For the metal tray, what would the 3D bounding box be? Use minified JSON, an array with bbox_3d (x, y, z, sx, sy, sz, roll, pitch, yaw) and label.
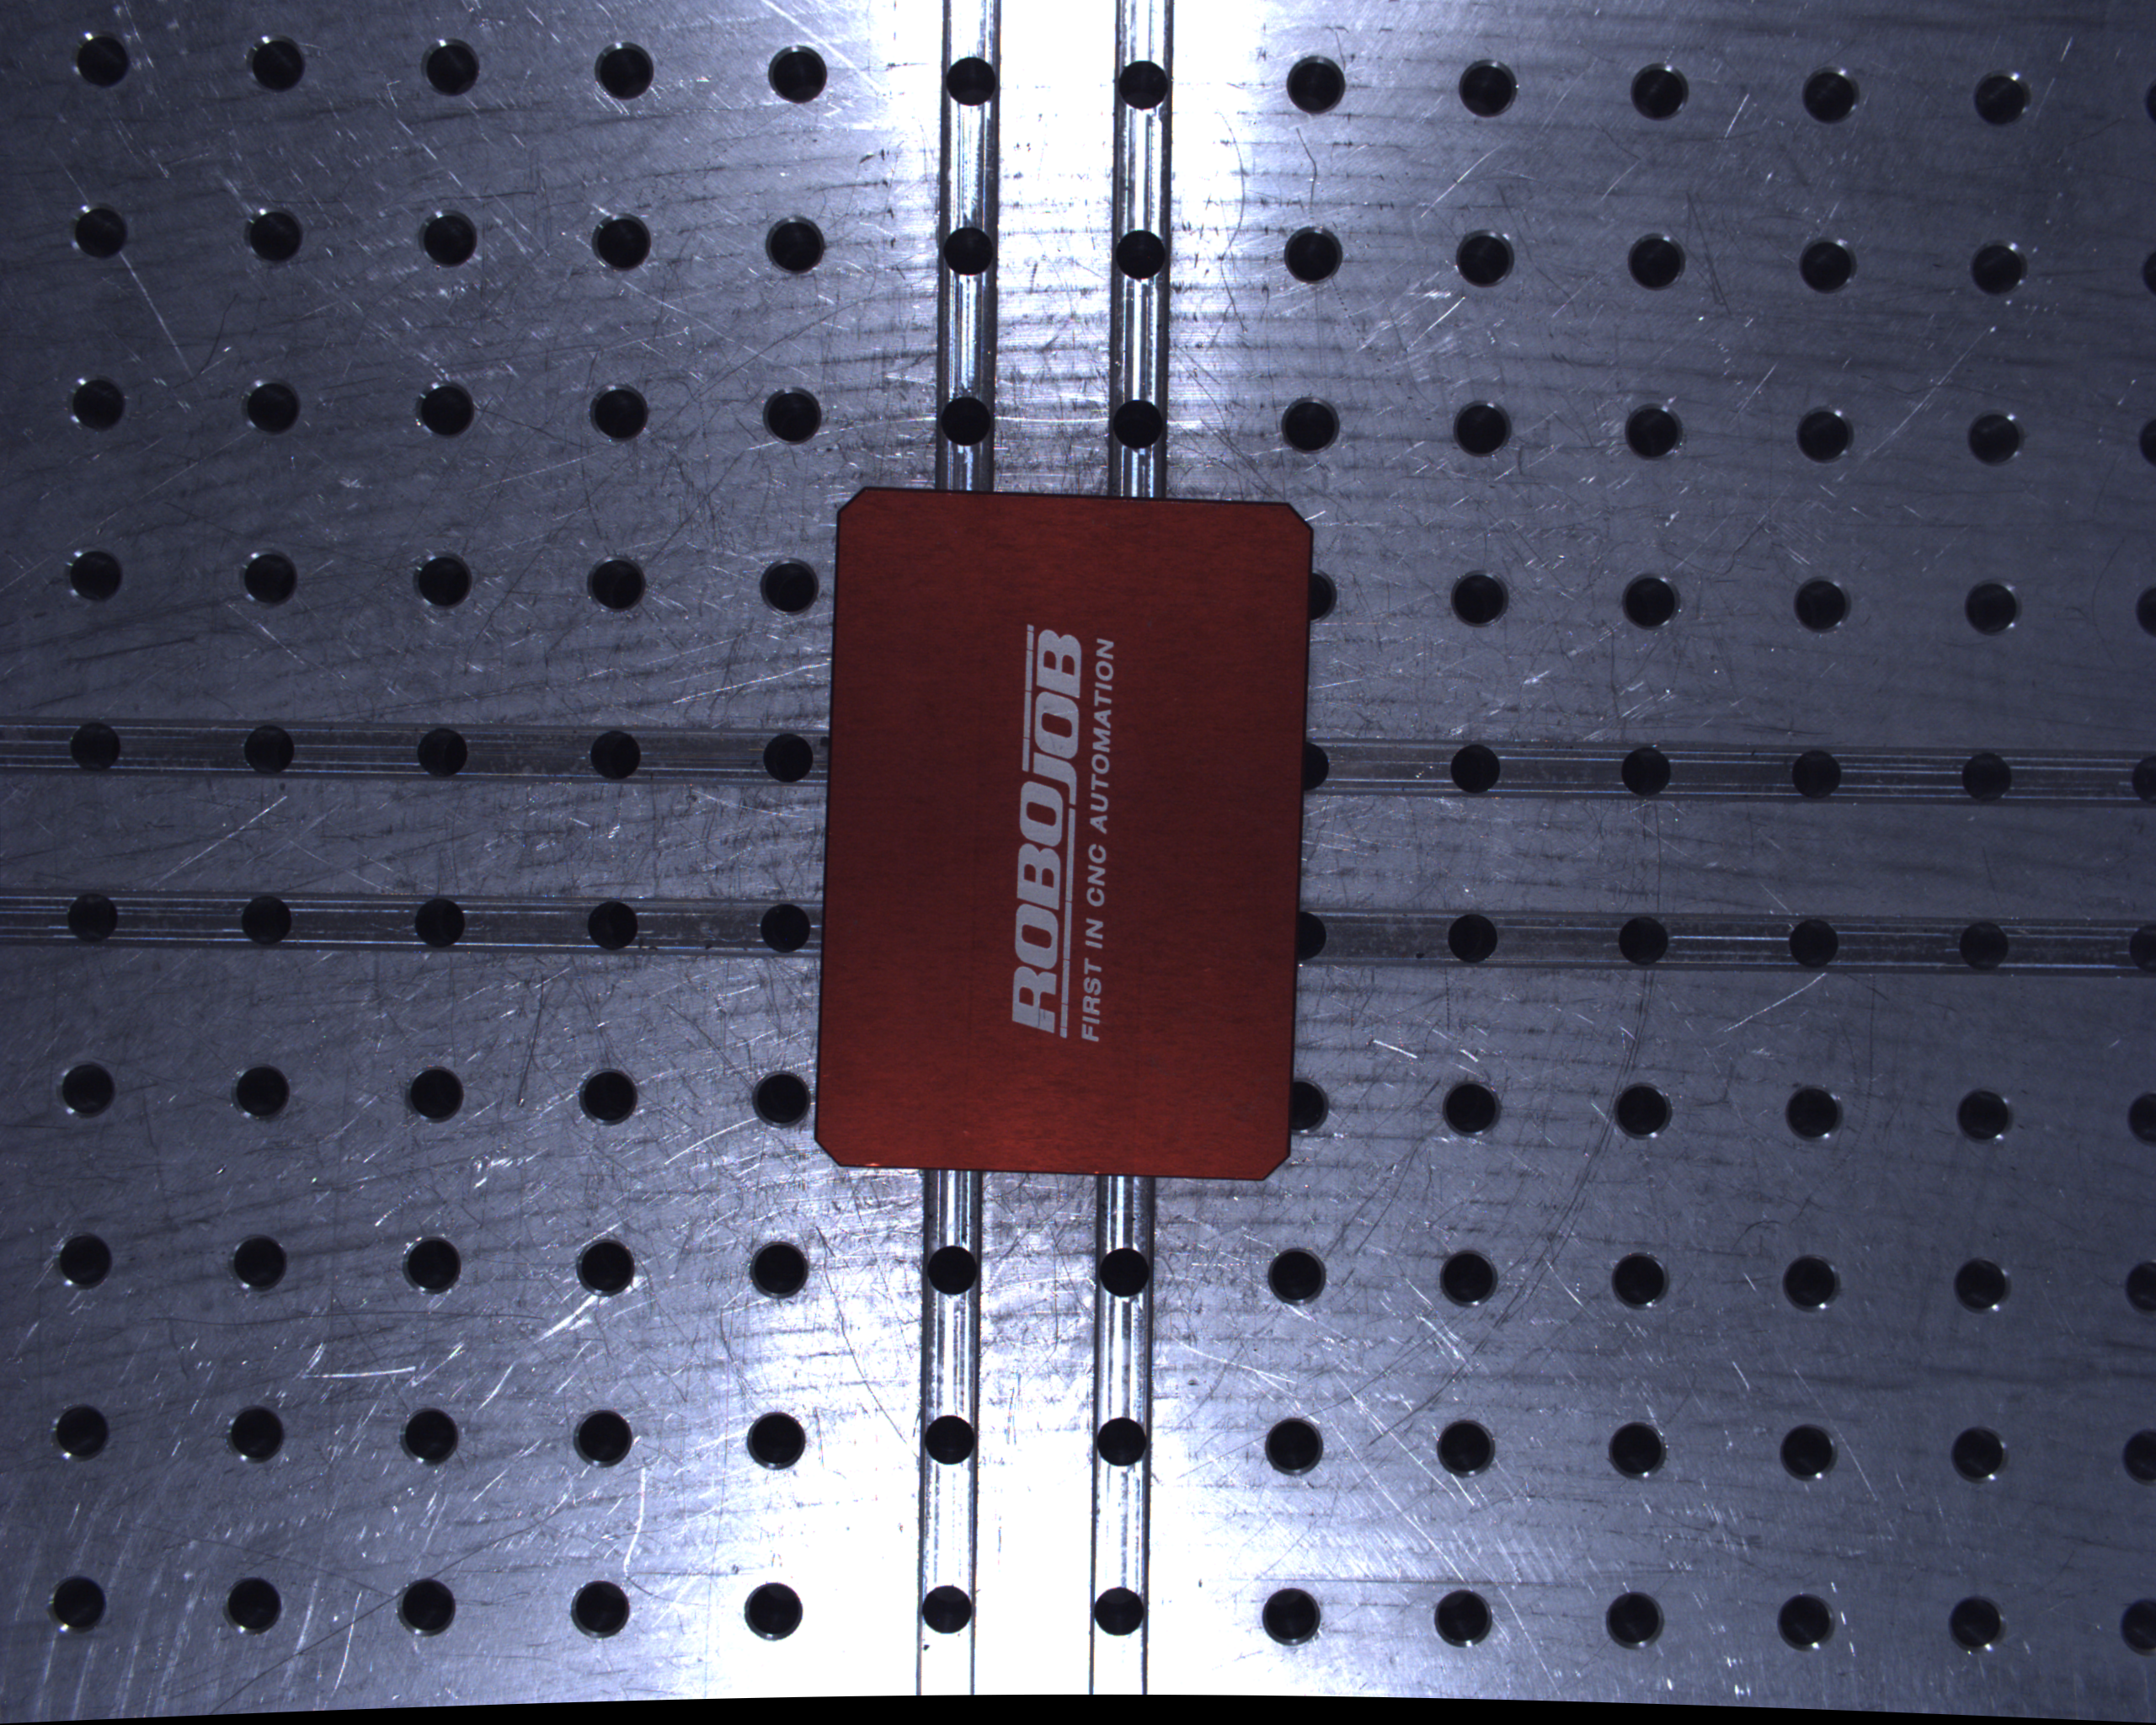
[{"bbox_3d":[-0.003,-0.006,0.410,0.091,0.030,0.129,2,90,-1],"label":"metal tray"}]
